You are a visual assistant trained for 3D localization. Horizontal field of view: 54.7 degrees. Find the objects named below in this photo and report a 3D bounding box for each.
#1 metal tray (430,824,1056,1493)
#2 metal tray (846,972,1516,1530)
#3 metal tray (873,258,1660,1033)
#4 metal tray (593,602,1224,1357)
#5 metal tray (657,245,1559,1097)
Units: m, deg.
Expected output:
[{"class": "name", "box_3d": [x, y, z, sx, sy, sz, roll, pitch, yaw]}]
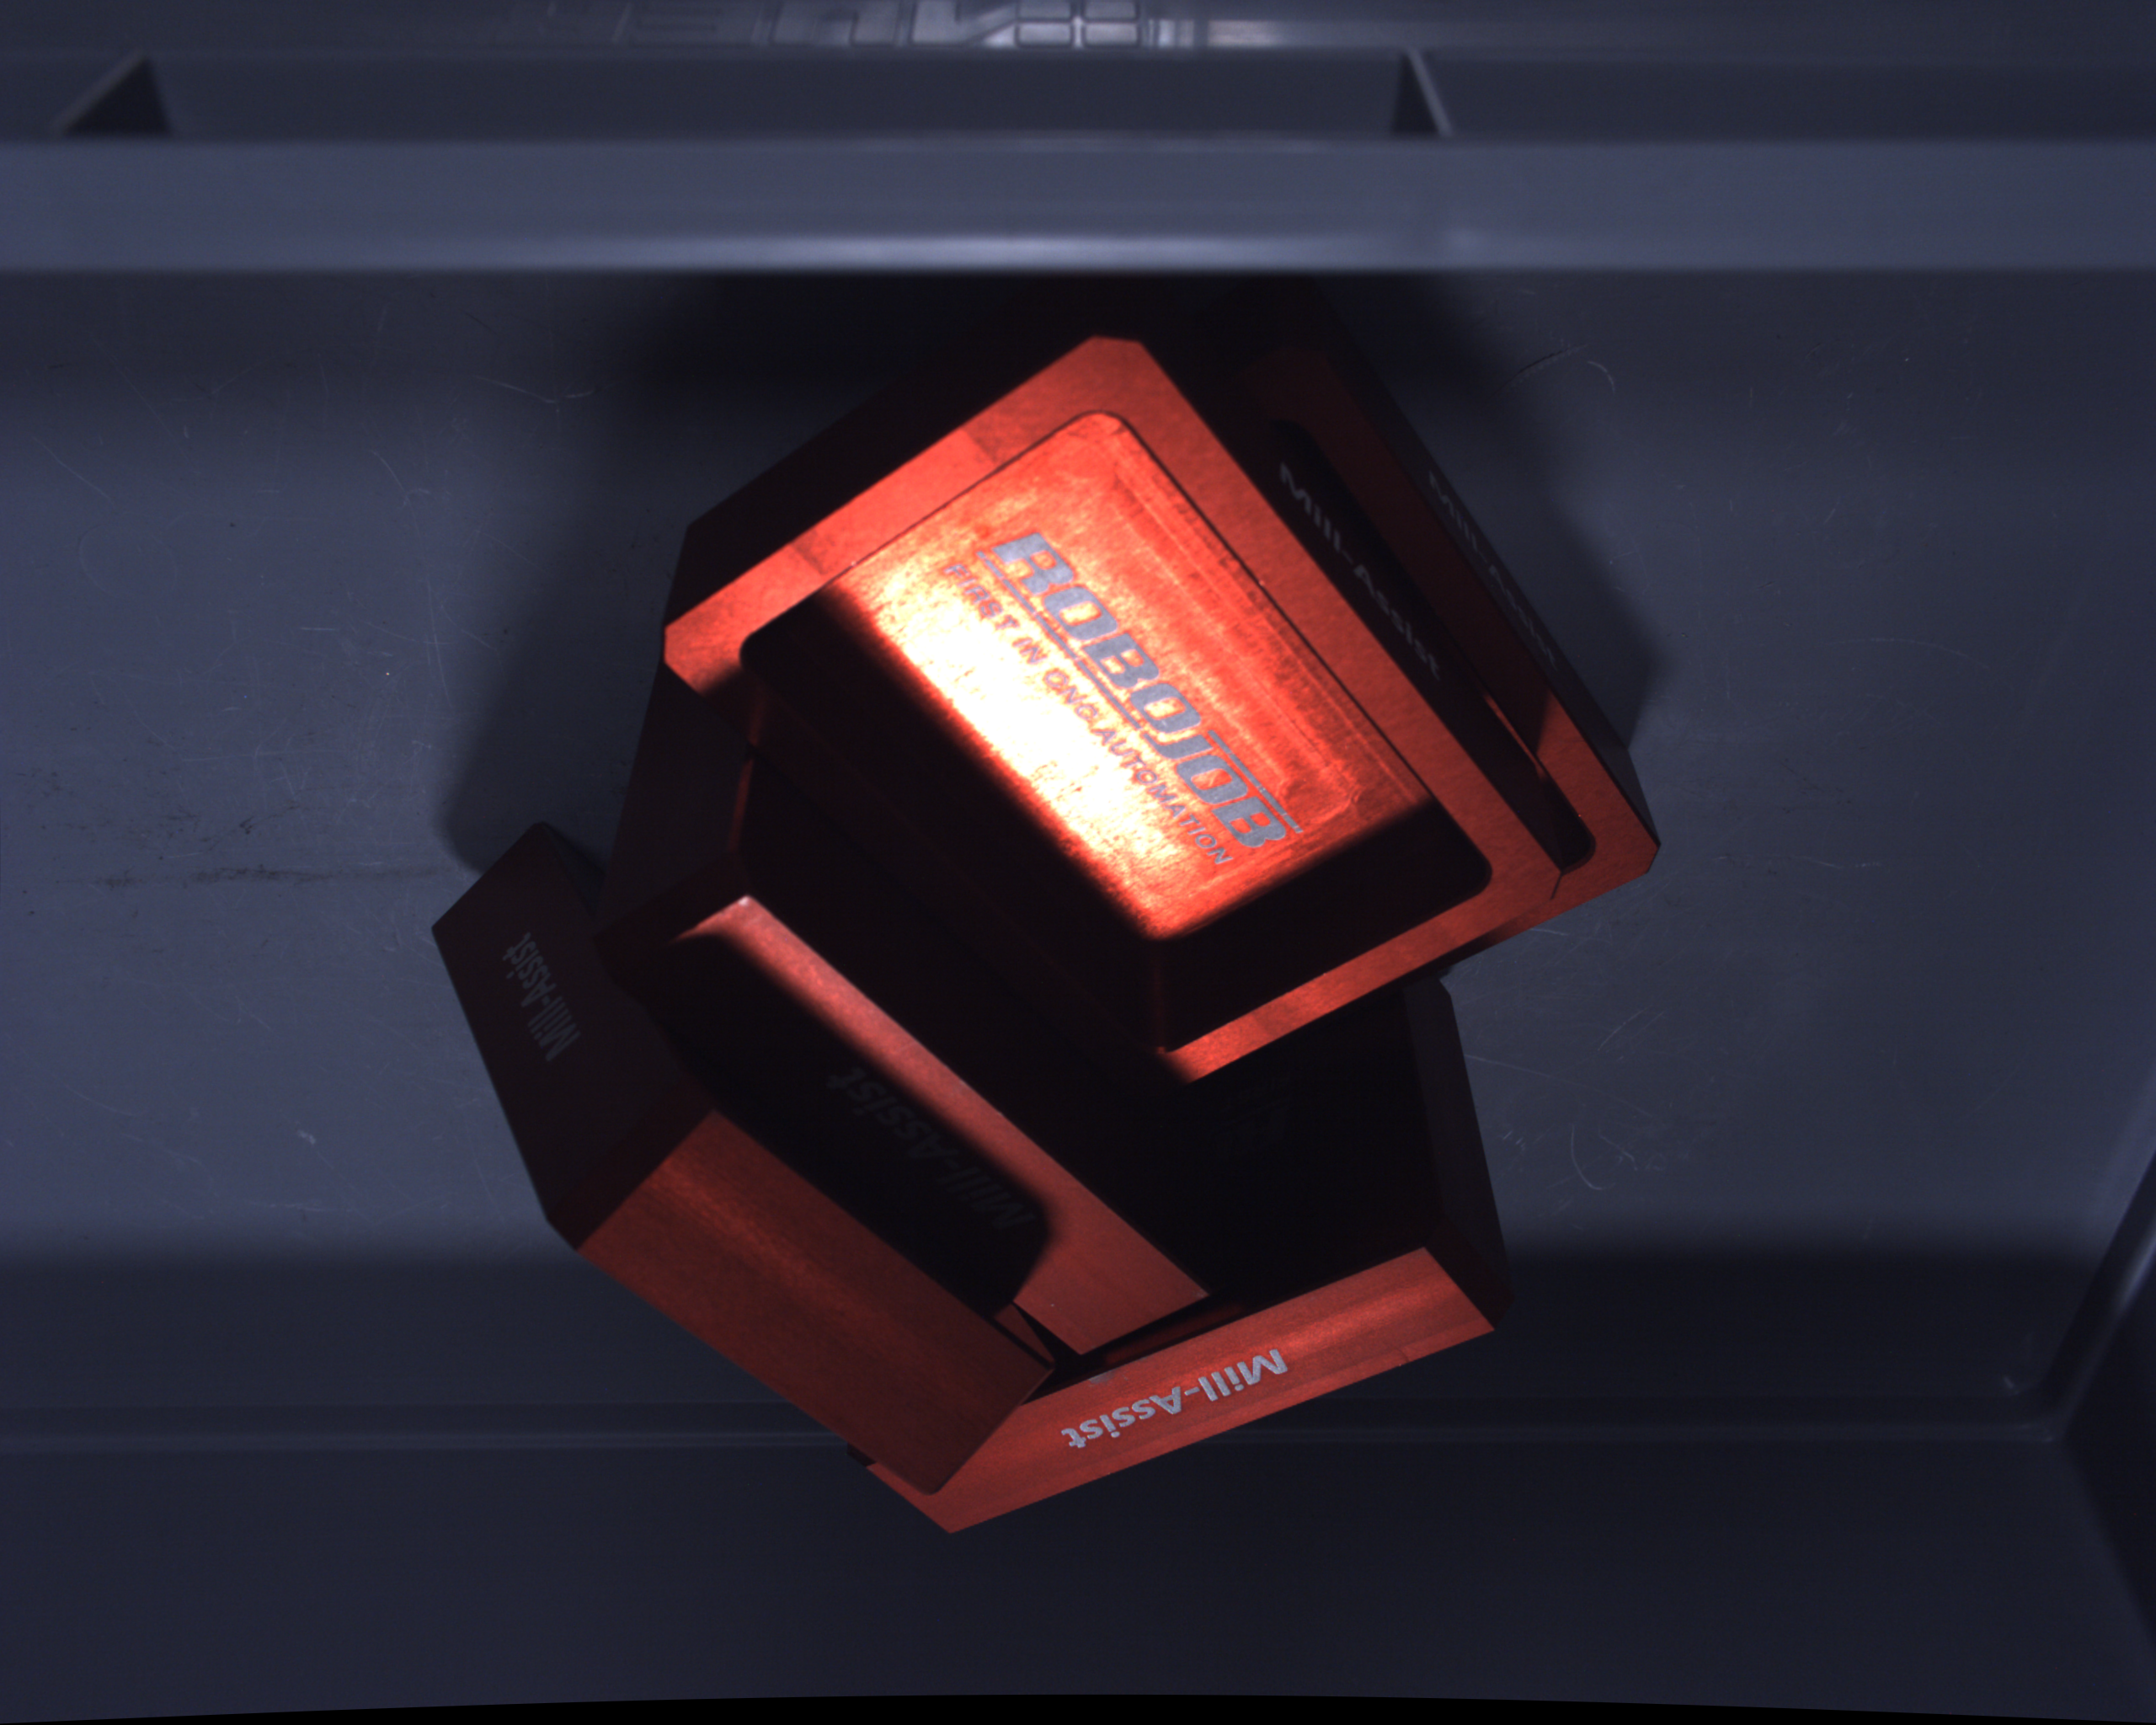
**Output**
[{"class": "metal tray", "box_3d": [-0.065, 0.049, 0.381, 0.030, 0.130, 0.090, -47, 121, -3]}, {"class": "metal tray", "box_3d": [0.017, 0.072, 0.426, 0.130, 0.090, 0.030, -26, 126, 20]}, {"class": "metal tray", "box_3d": [0.036, -0.032, 0.379, 0.090, 0.030, 0.130, -26, 125, 22]}, {"class": "metal tray", "box_3d": [-0.024, 0.019, 0.379, 0.030, 0.090, 0.130, -30, 124, 22]}, {"class": "metal tray", "box_3d": [0.008, -0.024, 0.344, 0.090, 0.030, 0.130, -29, 124, 22]}]
